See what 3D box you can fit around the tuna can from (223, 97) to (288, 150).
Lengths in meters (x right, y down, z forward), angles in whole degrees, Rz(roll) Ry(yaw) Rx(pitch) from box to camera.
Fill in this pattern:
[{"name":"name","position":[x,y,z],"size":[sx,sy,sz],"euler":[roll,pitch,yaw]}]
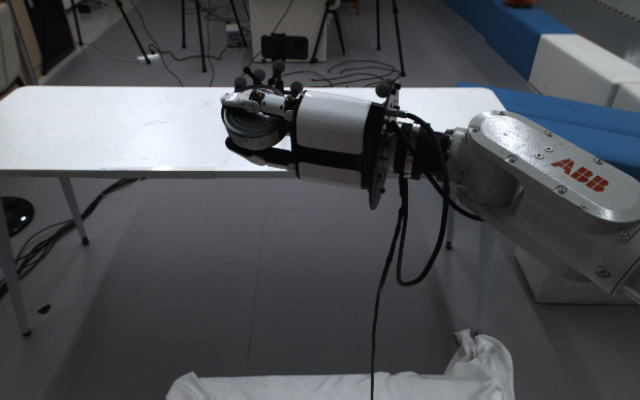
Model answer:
[{"name":"tuna can","position":[-0.082,-0.108,0.627],"size":[0.085,0.034,0.085],"euler":[-2,57,4]}]
